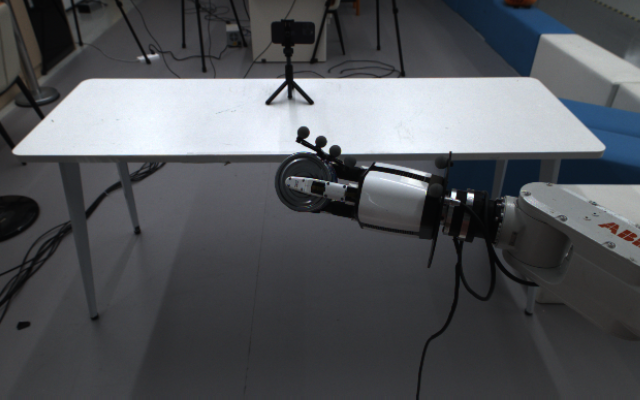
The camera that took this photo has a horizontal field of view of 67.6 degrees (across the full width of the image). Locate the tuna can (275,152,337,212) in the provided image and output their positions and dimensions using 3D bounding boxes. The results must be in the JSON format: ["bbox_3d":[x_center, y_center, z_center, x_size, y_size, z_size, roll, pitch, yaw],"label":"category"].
[{"bbox_3d":[-0.019,-0.026,0.687,0.085,0.085,0.034,12,4,14],"label":"tuna can"}]
